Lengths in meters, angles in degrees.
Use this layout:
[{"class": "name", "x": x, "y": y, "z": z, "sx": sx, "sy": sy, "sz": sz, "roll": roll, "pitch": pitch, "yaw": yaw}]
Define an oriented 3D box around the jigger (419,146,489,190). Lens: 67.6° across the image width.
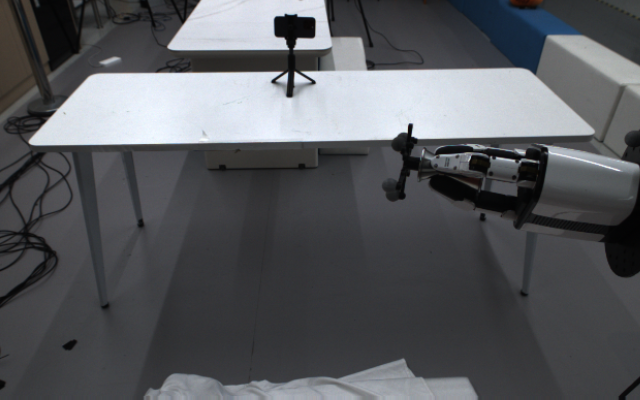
[{"class": "jigger", "x": 0.152, "y": -0.037, "z": 0.539, "sx": 0.071, "sy": 0.043, "sz": 0.043, "roll": 10, "pitch": 35, "yaw": 16}]
